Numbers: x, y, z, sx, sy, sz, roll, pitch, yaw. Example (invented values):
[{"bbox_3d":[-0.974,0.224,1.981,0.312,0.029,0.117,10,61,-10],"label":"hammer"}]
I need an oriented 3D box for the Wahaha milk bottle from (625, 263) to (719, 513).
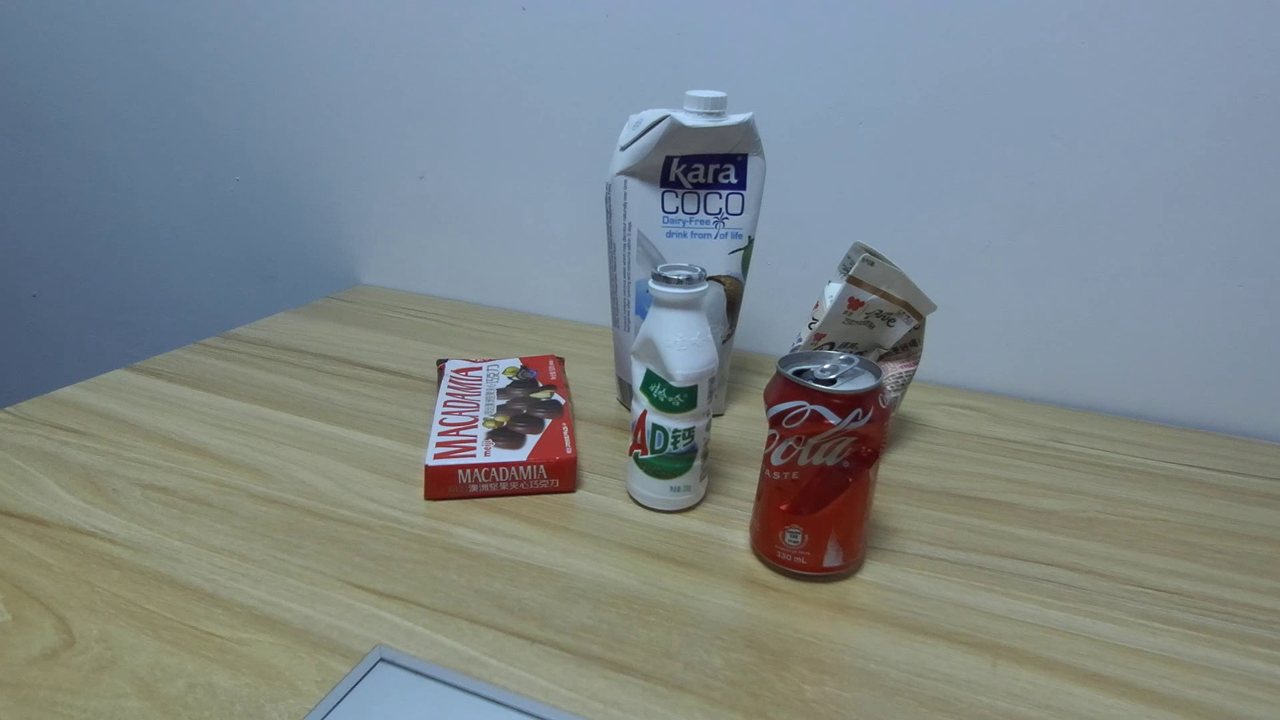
[{"bbox_3d":[0.019,0.017,0.423,0.056,0.147,0.056,3,23,-1],"label":"Wahaha milk bottle"}]

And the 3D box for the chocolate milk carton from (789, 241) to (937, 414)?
[{"bbox_3d":[0.152,-0.004,0.496,0.089,0.155,0.077,21,31,9],"label":"chocolate milk carton"}]

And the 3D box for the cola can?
[{"bbox_3d":[0.096,0.055,0.382,0.066,0.117,0.066,8,23,14],"label":"cola can"}]

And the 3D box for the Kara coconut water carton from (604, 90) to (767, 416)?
[{"bbox_3d":[0.030,-0.074,0.526,0.115,0.238,0.069,-4,20,-23],"label":"Kara coconut water carton"}]

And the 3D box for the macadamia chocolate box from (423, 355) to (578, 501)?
[{"bbox_3d":[-0.100,0.040,0.520,0.106,0.028,0.182,-2,23,-11],"label":"macadamia chocolate box"}]
